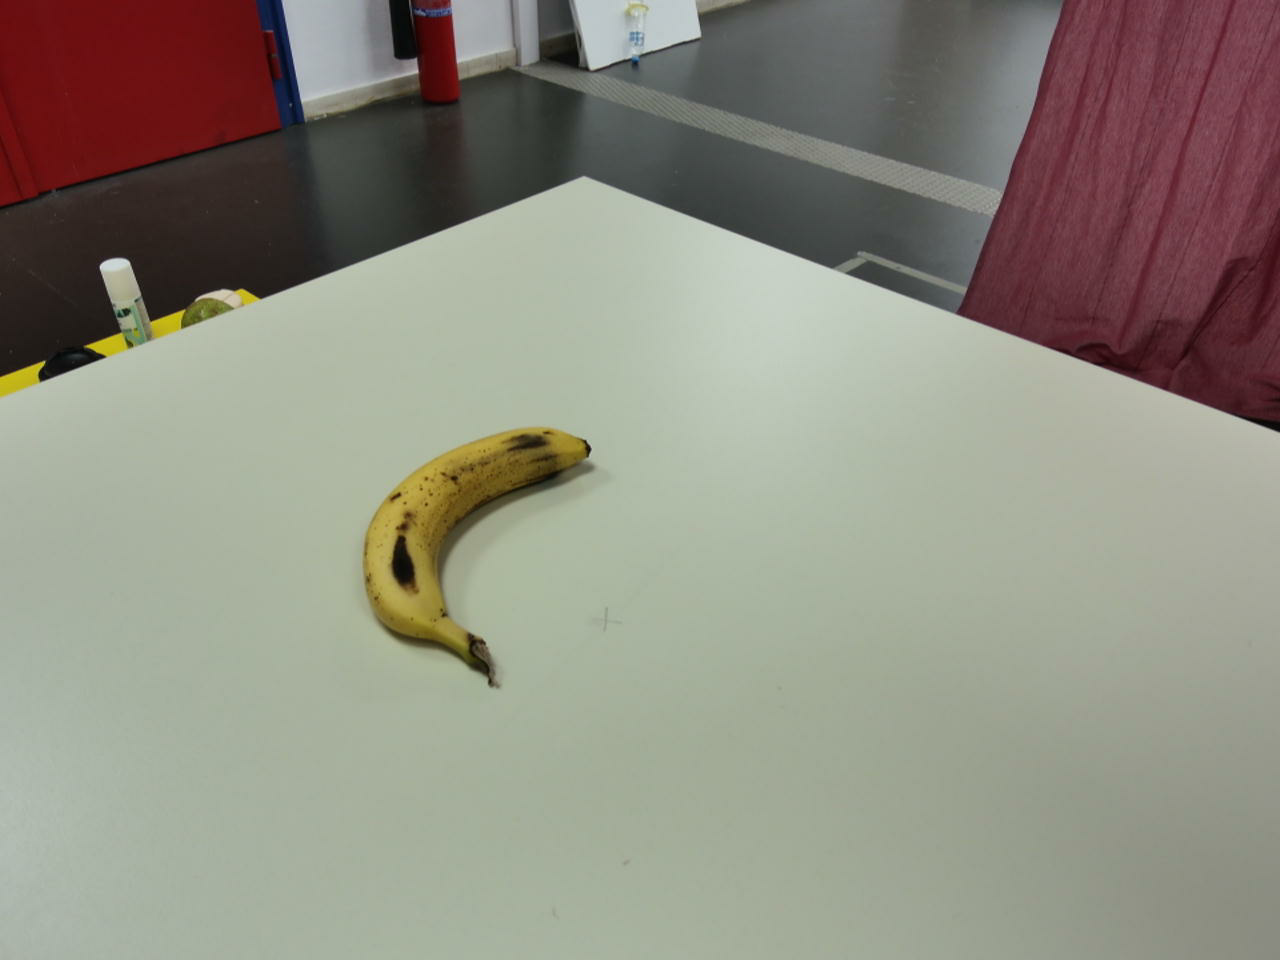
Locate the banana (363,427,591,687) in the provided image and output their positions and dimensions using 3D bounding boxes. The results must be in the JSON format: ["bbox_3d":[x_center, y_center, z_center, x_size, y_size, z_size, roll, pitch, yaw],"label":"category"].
[{"bbox_3d":[-0.098,0.024,0.570,0.097,0.038,0.186,9,38,10],"label":"banana"}]
